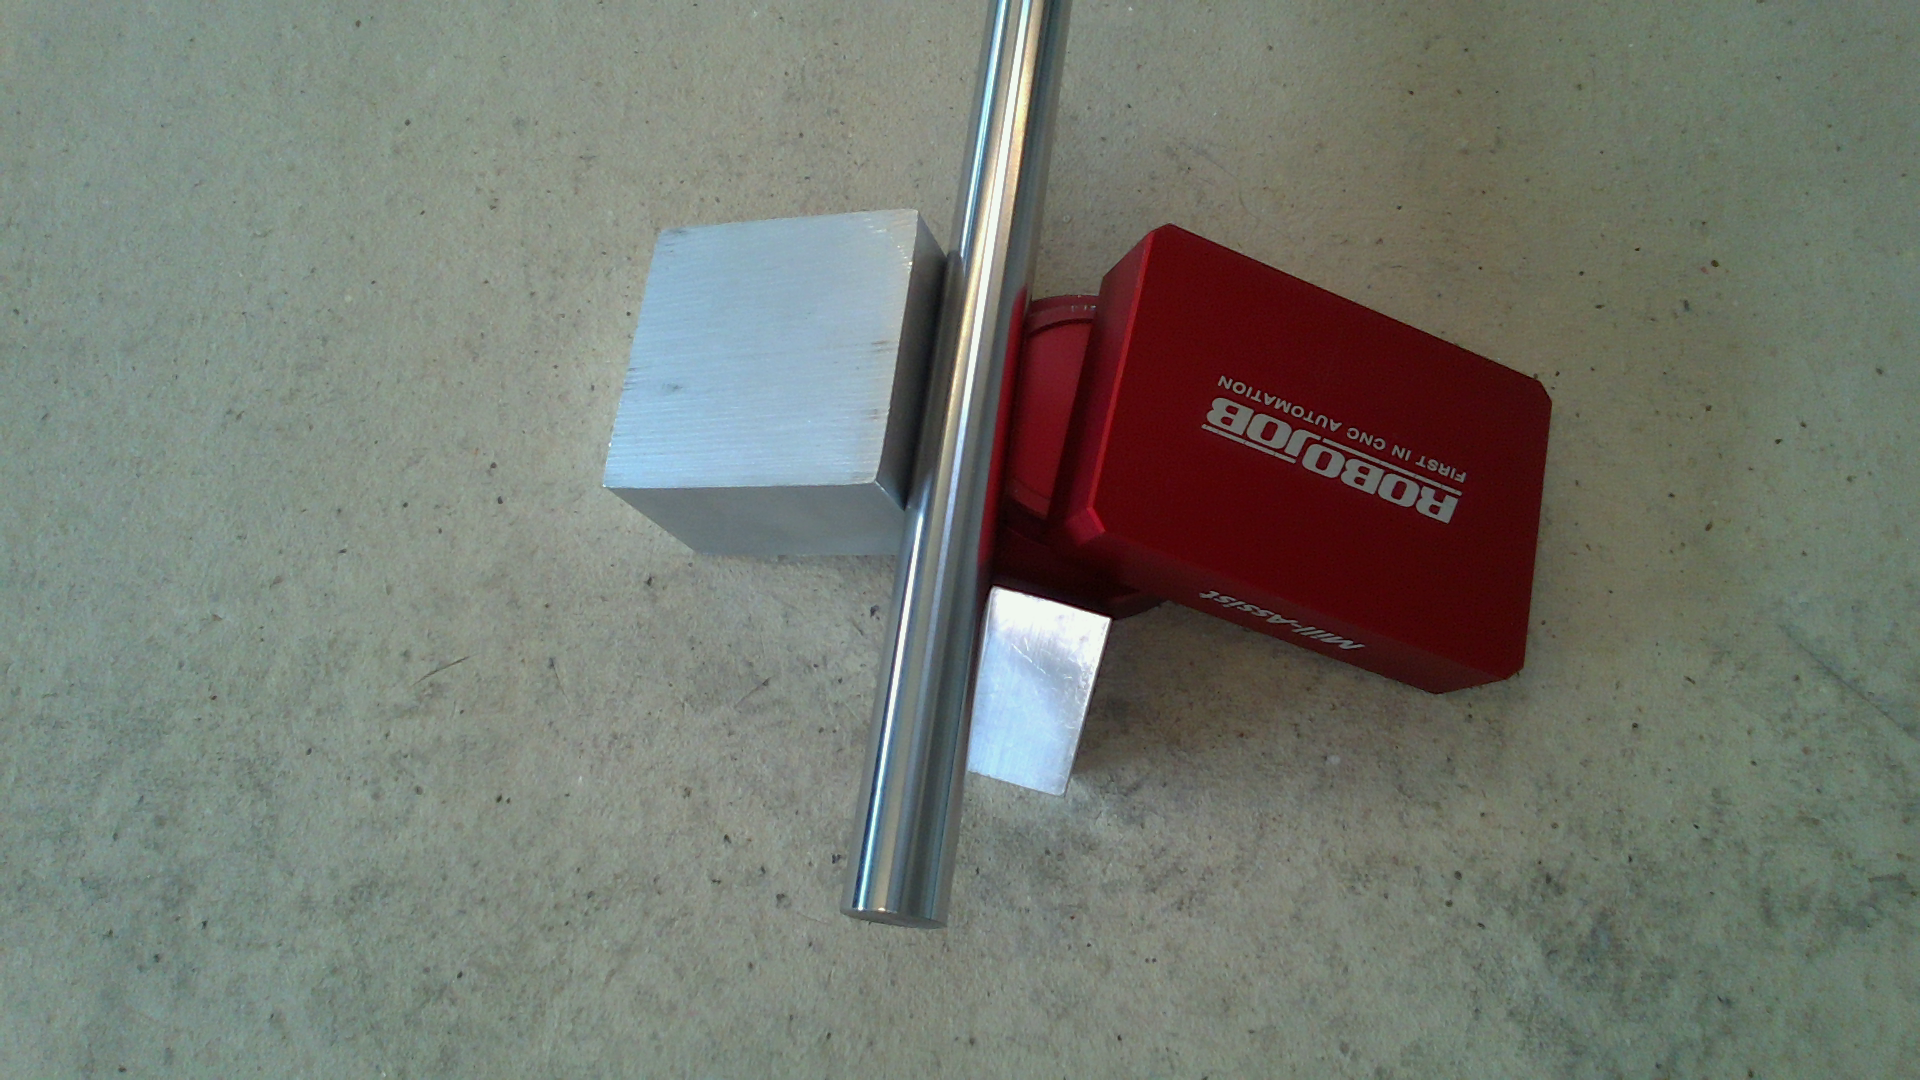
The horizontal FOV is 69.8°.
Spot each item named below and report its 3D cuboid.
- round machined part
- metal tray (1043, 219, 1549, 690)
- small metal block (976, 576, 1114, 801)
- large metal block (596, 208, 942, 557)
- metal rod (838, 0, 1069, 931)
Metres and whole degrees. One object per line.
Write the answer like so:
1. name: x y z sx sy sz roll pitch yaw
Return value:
1. round machined part: 0.035 -0.029 0.396 0.098 0.042 0.098 0 70 0
2. metal tray: 0.095 -0.021 0.376 0.130 0.030 0.090 19 71 -15
3. small metal block: 0.011 0.037 0.371 0.050 0.025 0.050 15 96 6
4. large metal block: -0.045 -0.042 0.385 0.080 0.050 0.080 0 69 19
5. metal rod: 0.005 -0.051 0.369 0.025 0.025 0.300 7 68 3
